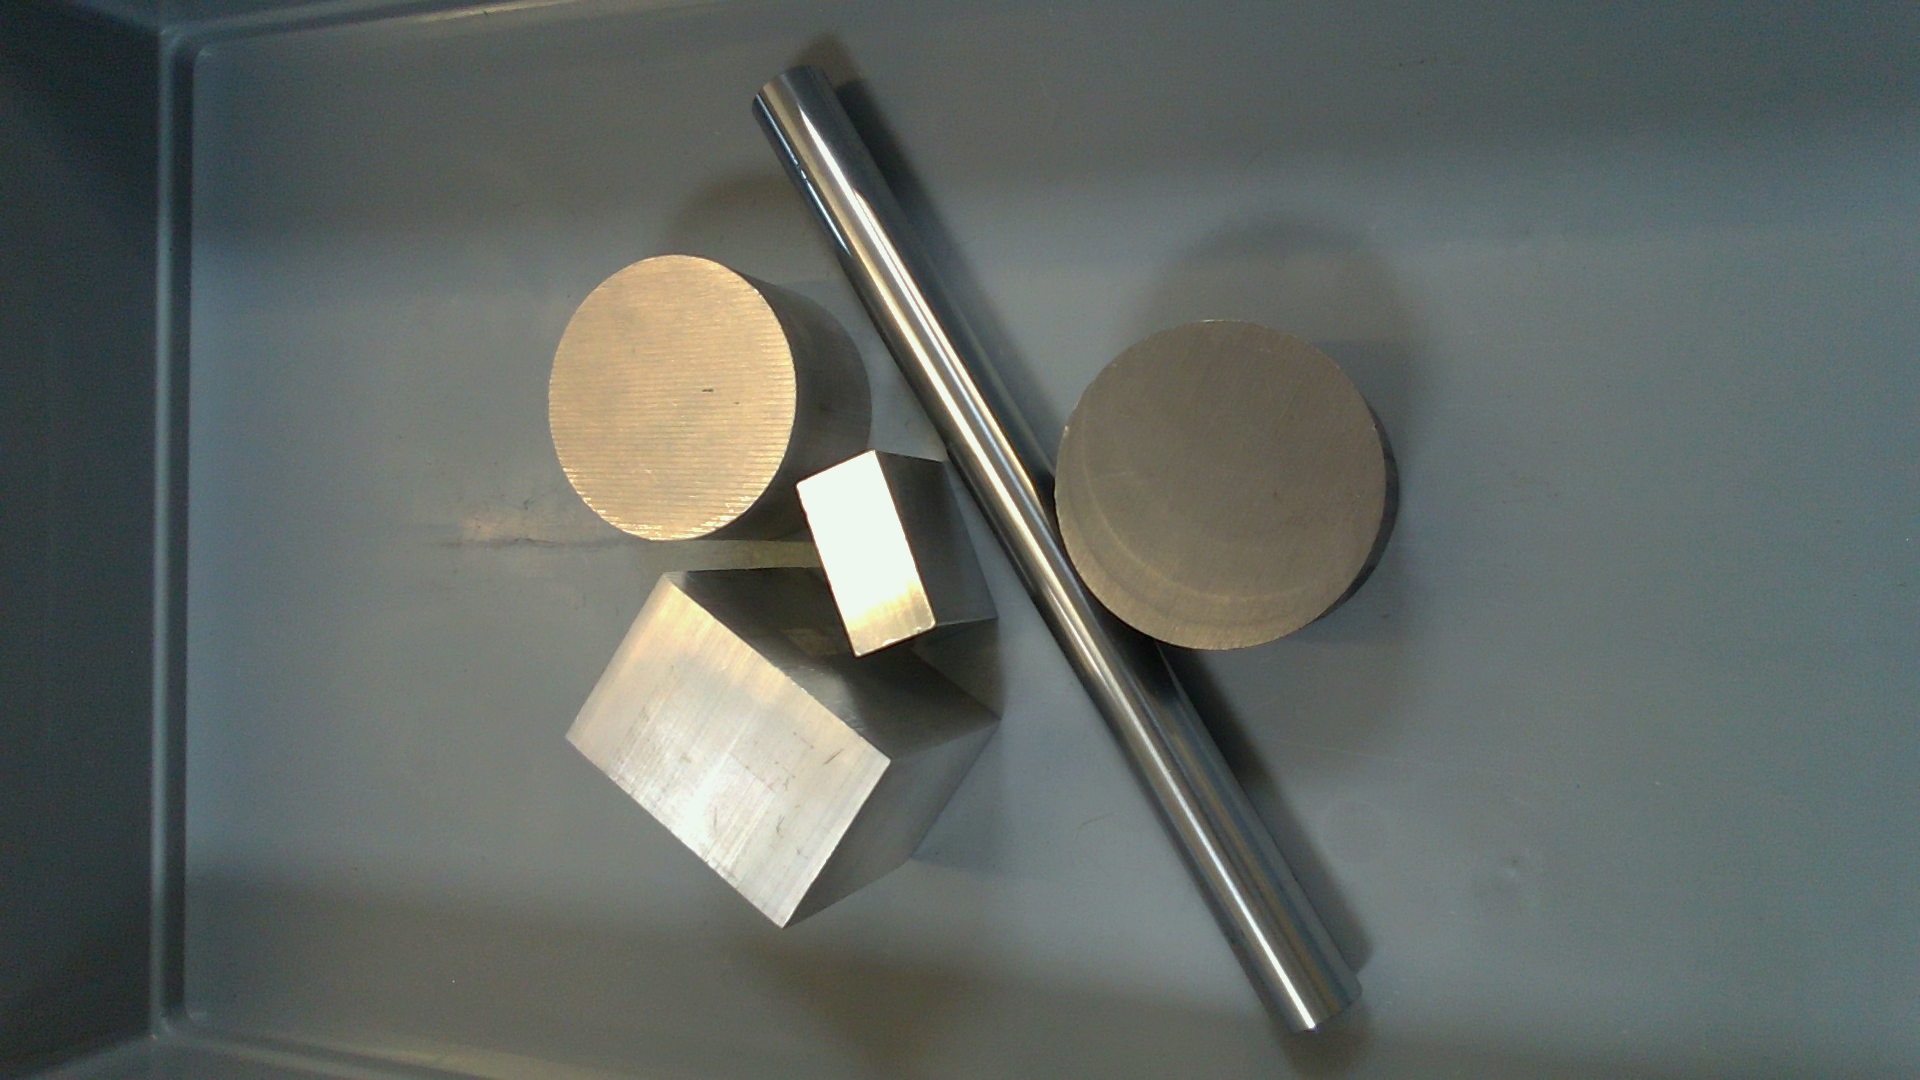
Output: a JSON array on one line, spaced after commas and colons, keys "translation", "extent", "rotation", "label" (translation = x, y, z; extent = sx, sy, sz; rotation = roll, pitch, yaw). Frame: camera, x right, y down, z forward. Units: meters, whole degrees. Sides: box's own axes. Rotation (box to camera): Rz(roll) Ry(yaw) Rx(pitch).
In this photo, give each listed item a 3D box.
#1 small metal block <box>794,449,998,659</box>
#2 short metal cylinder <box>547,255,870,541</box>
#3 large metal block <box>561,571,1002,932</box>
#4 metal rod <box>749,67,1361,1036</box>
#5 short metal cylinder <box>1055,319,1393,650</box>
[{"translation": [-0.017, 0.004, 0.387], "extent": [0.025, 0.050, 0.050], "rotation": [-22, 83, 19], "label": "small metal block"}, {"translation": [-0.073, -0.040, 0.408], "extent": [0.080, 0.050, 0.080], "rotation": [0, 90, 20], "label": "short metal cylinder"}, {"translation": [-0.046, 0.053, 0.381], "extent": [0.080, 0.080, 0.050], "rotation": [36, 102, 17], "label": "large metal block"}, {"translation": [0.021, -0.005, 0.387], "extent": [0.025, 0.025, 0.300], "rotation": [-33, 79, 17], "label": "metal rod"}, {"translation": [0.070, -0.014, 0.356], "extent": [0.080, 0.050, 0.080], "rotation": [0, 90, 20], "label": "short metal cylinder"}]
